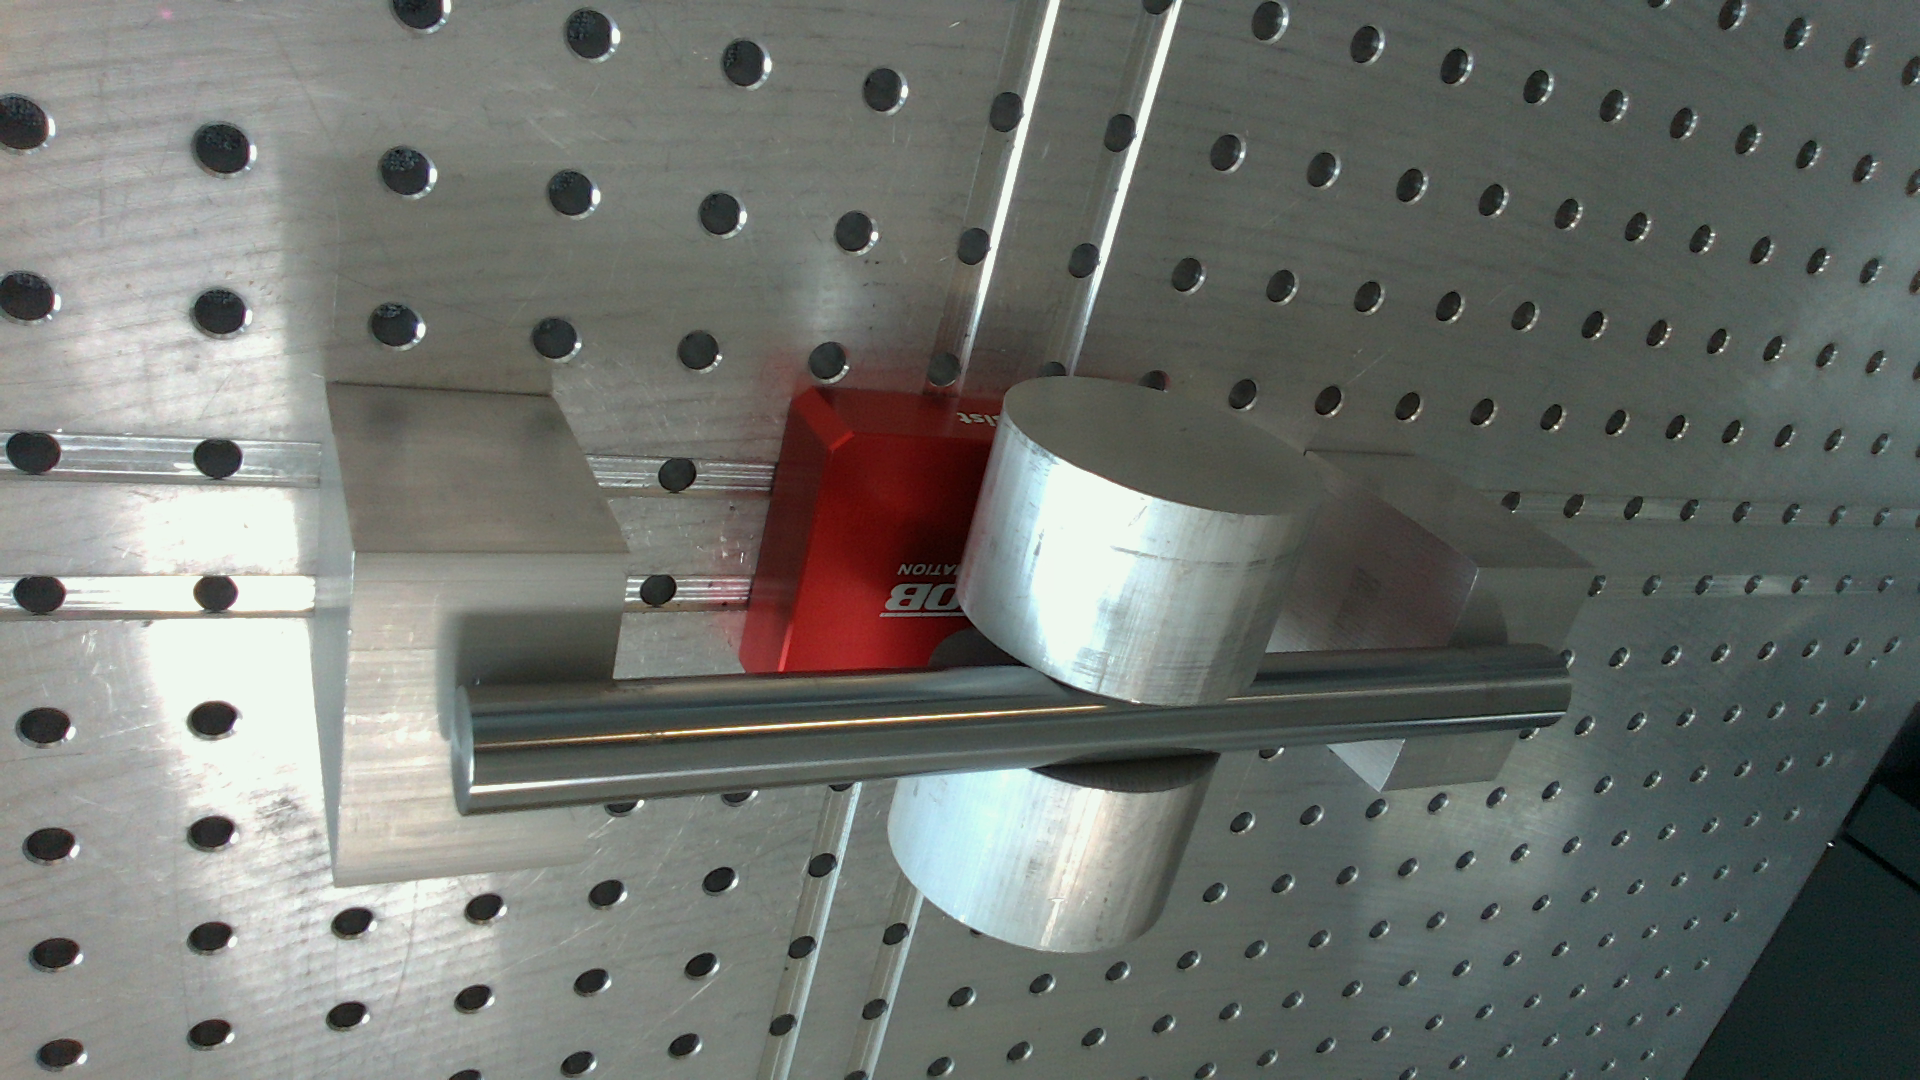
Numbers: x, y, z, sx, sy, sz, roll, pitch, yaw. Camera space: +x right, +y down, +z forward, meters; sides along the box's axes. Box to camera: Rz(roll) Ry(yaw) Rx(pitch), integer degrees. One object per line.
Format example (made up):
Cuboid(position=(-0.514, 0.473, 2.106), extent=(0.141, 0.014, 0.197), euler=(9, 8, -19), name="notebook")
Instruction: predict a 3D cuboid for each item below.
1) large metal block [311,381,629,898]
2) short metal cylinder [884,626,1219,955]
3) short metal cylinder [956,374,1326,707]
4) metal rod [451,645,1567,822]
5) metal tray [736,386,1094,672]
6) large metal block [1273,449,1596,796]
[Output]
Cuboid(position=(-0.113, 0.019, 0.306), extent=(0.050, 0.080, 0.080), euler=(1, 118, -29), name="large metal block")
Cuboid(position=(0.024, 0.064, 0.371), extent=(0.080, 0.080, 0.050), euler=(1, 118, -29), name="short metal cylinder")
Cuboid(position=(0.043, -0.002, 0.340), extent=(0.080, 0.080, 0.050), euler=(1, 118, -29), name="short metal cylinder")
Cuboid(position=(0.037, 0.042, 0.334), extent=(0.301, 0.025, 0.025), euler=(0, 118, -29), name="metal rod")
Cuboid(position=(0.008, 0.007, 0.398), extent=(0.130, 0.030, 0.090), euler=(1, 118, -29), name="metal tray")
Cuboid(position=(0.143, 0.025, 0.448), extent=(0.050, 0.080, 0.080), euler=(1, 118, -29), name="large metal block")
